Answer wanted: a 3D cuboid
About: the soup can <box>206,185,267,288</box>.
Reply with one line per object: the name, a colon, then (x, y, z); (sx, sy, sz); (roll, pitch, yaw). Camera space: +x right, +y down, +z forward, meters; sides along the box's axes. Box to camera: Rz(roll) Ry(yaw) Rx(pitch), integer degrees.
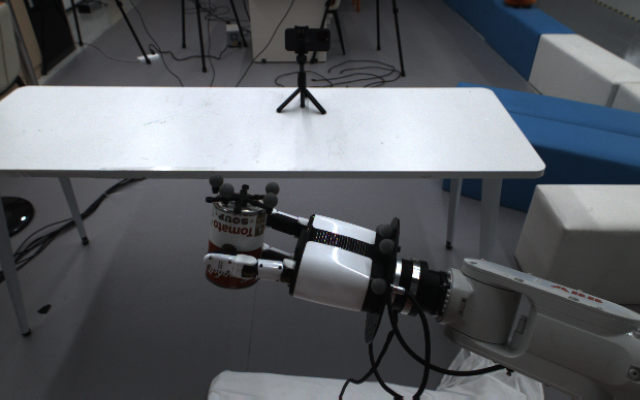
soup can: (-0.101, 0.049, 0.598); (0.067, 0.101, 0.067); (9, 20, -3)
